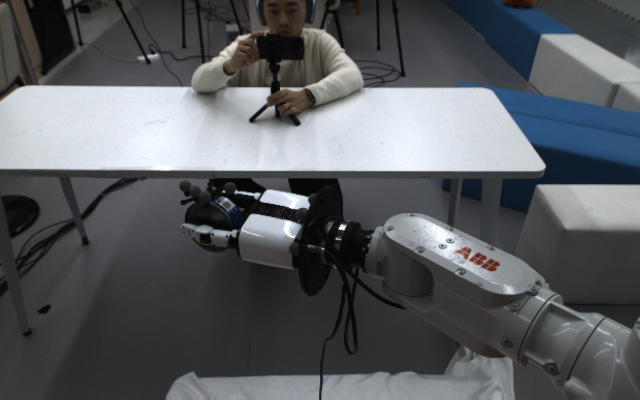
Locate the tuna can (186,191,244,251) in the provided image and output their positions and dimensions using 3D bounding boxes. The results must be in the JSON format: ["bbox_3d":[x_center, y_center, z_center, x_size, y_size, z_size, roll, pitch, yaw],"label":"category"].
[{"bbox_3d":[-0.158,0.035,0.734,0.085,0.085,0.034,15,28,17],"label":"tuna can"}]
